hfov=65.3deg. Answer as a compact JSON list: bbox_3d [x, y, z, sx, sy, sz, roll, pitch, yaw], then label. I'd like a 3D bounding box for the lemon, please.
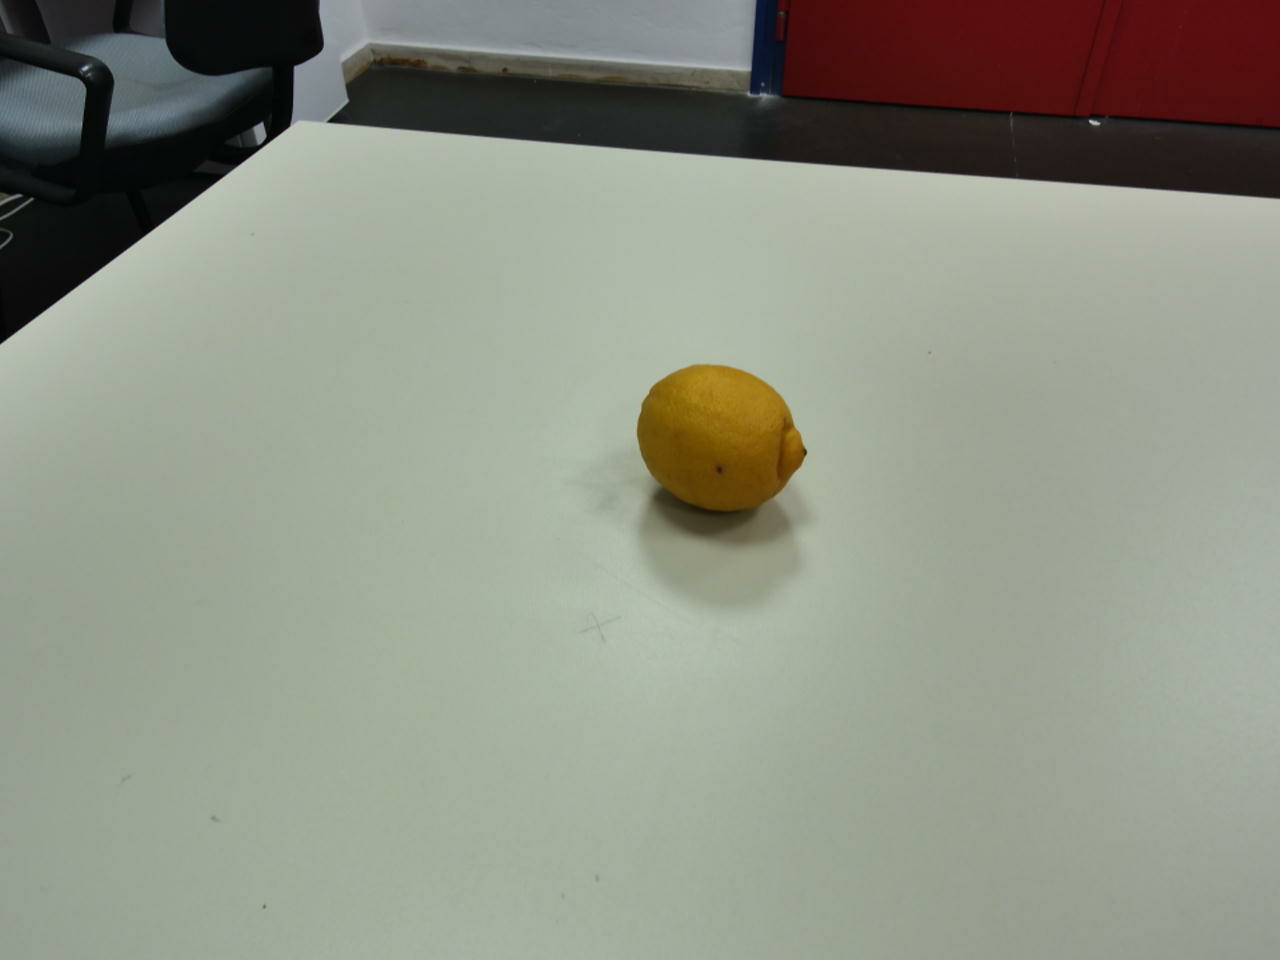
[{"bbox_3d":[0.032,-0.017,0.417,0.060,0.059,0.067,-22,43,-26],"label":"lemon"}]
